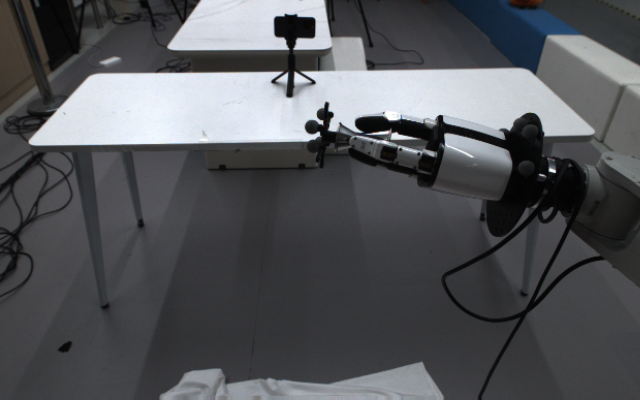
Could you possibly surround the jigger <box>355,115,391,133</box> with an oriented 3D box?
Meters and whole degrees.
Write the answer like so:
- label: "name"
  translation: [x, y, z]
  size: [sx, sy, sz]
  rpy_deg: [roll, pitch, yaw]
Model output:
- label: "jigger"
  translation: [0.063, -0.081, 0.627]
  size: [0.071, 0.043, 0.043]
  rpy_deg: [7, 35, 8]
